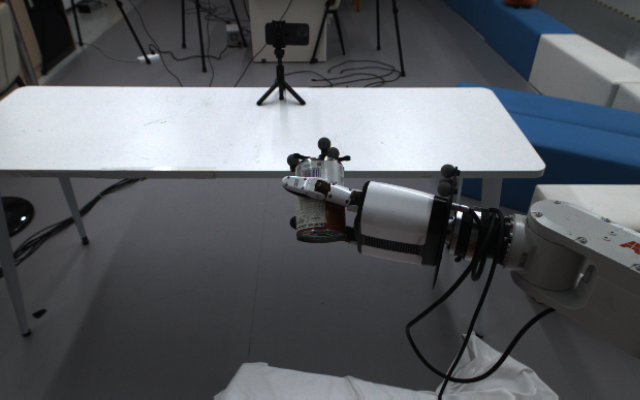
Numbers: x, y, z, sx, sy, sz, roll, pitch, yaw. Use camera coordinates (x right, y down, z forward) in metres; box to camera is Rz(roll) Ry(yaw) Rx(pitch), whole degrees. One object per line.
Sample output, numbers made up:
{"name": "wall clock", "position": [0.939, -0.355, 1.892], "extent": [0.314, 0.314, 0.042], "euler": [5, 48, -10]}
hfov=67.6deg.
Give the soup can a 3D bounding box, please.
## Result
{"name": "soup can", "position": [0.002, 0.000, 0.649], "extent": [0.067, 0.067, 0.101], "euler": [-1, 71, -5]}
